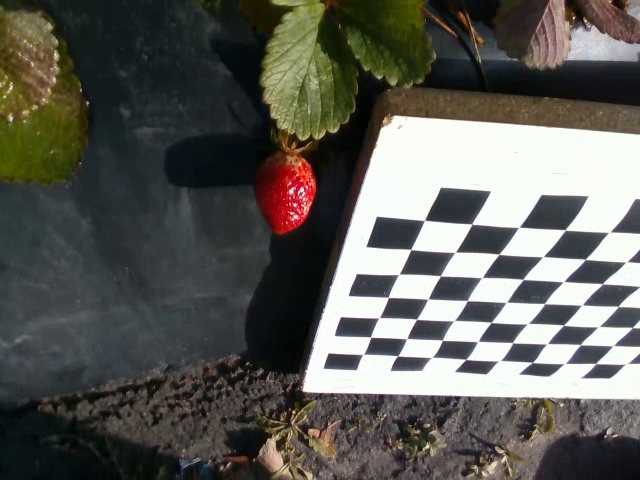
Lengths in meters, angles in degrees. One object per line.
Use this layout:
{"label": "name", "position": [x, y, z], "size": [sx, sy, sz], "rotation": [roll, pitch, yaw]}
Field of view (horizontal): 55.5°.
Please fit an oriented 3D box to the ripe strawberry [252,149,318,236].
{"label": "ripe strawberry", "position": [-0.014, -0.018, 0.249], "size": [0.034, 0.038, 0.033], "rotation": [3, 0, -7]}
